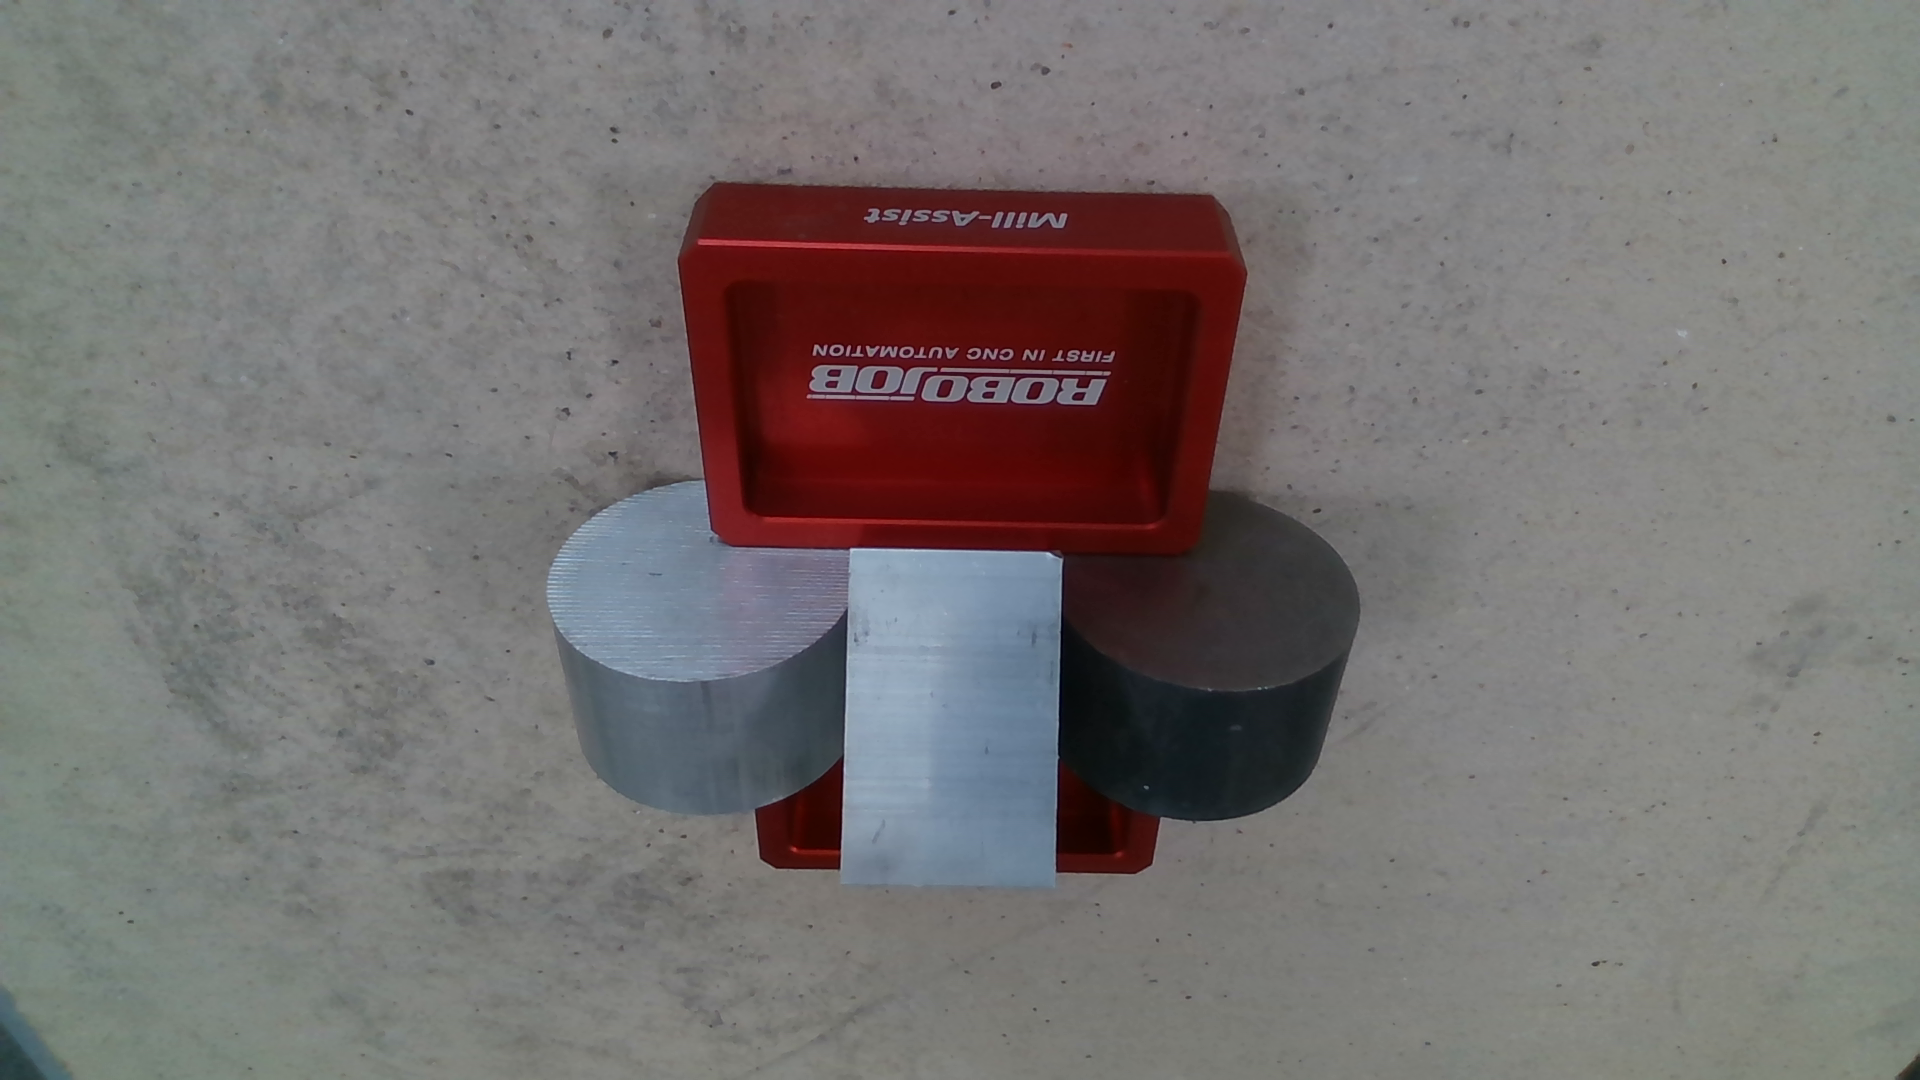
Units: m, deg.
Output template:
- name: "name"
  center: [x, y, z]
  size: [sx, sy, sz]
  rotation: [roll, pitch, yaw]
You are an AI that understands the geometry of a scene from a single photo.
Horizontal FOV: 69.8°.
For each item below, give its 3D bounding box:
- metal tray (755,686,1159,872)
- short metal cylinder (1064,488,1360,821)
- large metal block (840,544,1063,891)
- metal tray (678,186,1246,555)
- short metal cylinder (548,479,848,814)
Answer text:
- name: "metal tray"
  center: [0.000, 0.066, 0.442]
  size: [0.130, 0.030, 0.090]
  rotation: [1, 130, -1]
- name: "short metal cylinder"
  center: [0.063, 0.029, 0.378]
  size: [0.080, 0.080, 0.050]
  rotation: [2, 130, -1]
- name: "large metal block"
  center: [-0.002, 0.042, 0.362]
  size: [0.050, 0.080, 0.080]
  rotation: [1, 90, 0]
- name: "metal tray"
  center: [0.000, -0.041, 0.352]
  size: [0.130, 0.030, 0.090]
  rotation: [1, 130, -1]
- name: "short metal cylinder"
  center: [-0.067, 0.027, 0.376]
  size: [0.080, 0.080, 0.050]
  rotation: [2, 130, -1]
